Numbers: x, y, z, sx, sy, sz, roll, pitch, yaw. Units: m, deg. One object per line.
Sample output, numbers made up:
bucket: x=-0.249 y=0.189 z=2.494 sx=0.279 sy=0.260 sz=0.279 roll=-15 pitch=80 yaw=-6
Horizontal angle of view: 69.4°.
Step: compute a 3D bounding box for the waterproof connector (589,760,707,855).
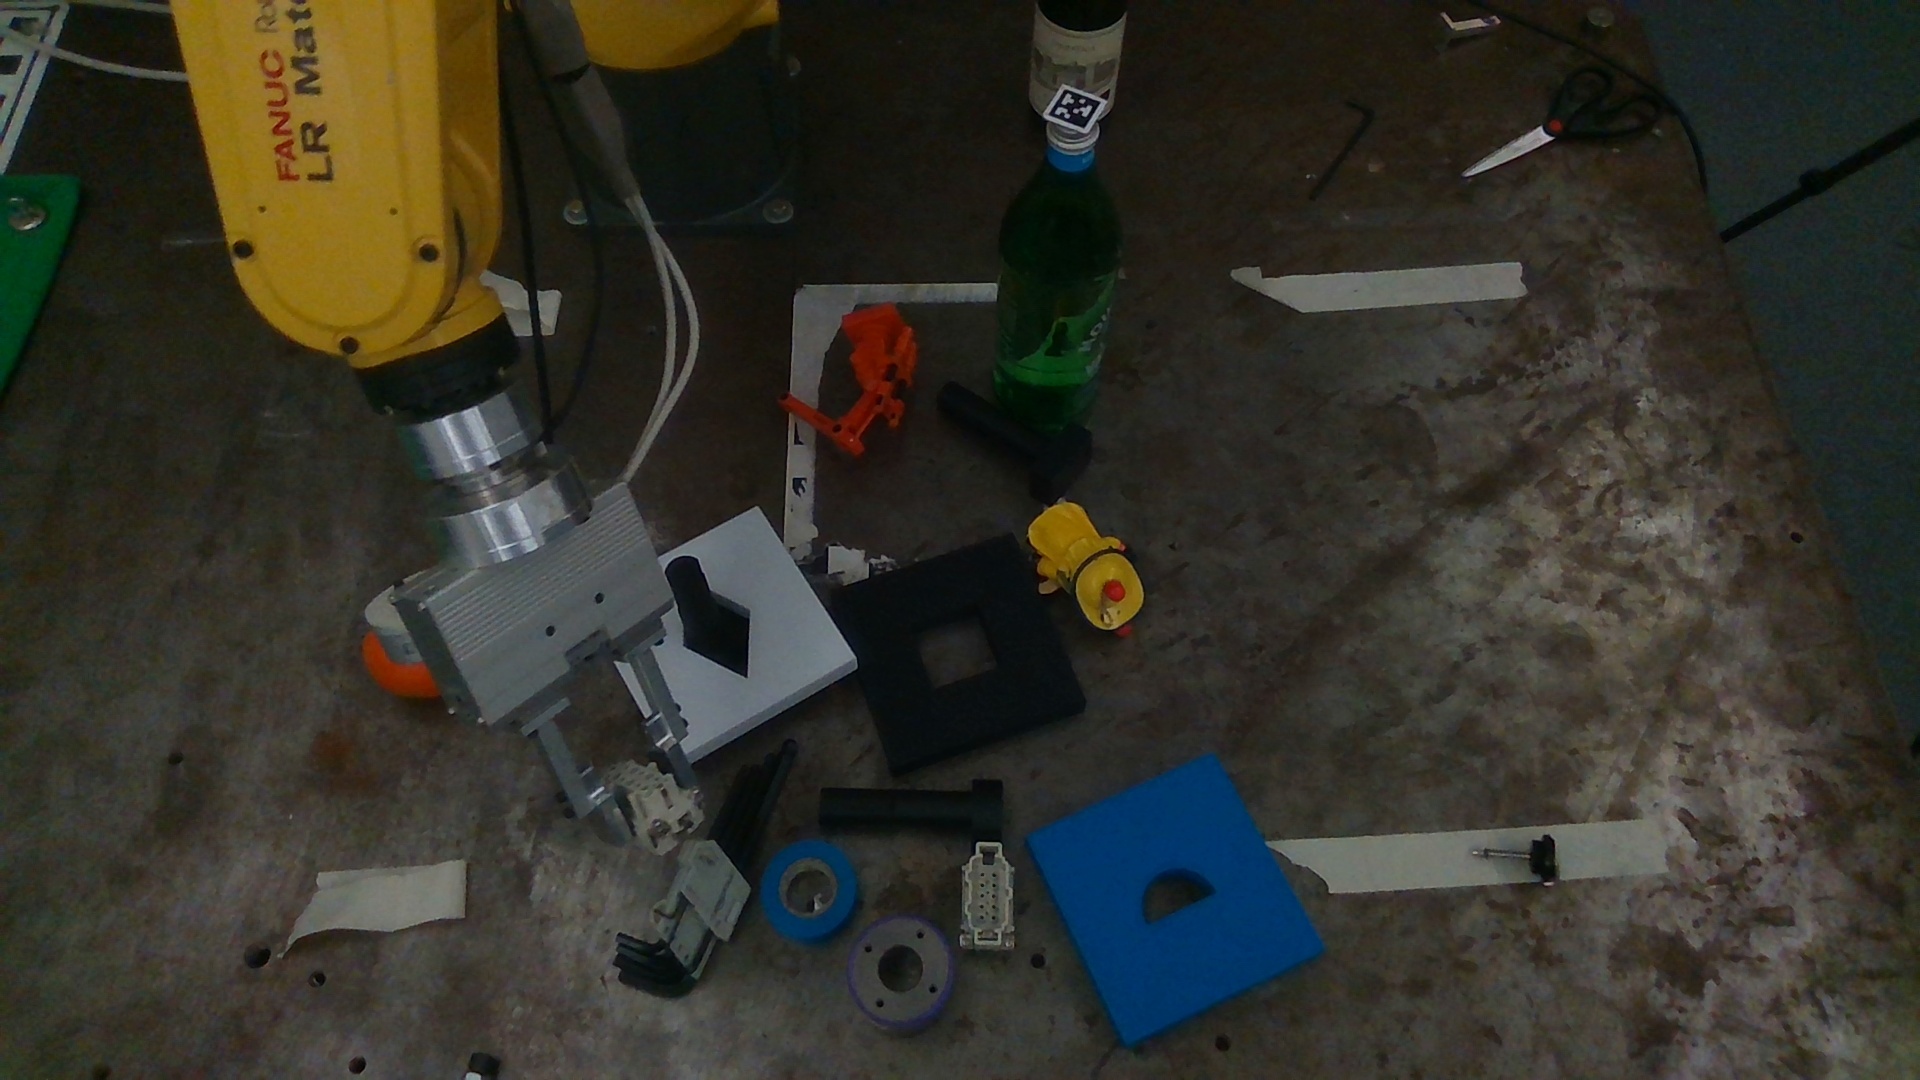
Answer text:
waterproof connector: x=-0.174 y=0.146 z=0.773 sx=0.069 sy=0.038 sz=0.036 roll=7 pitch=42 yaw=42
